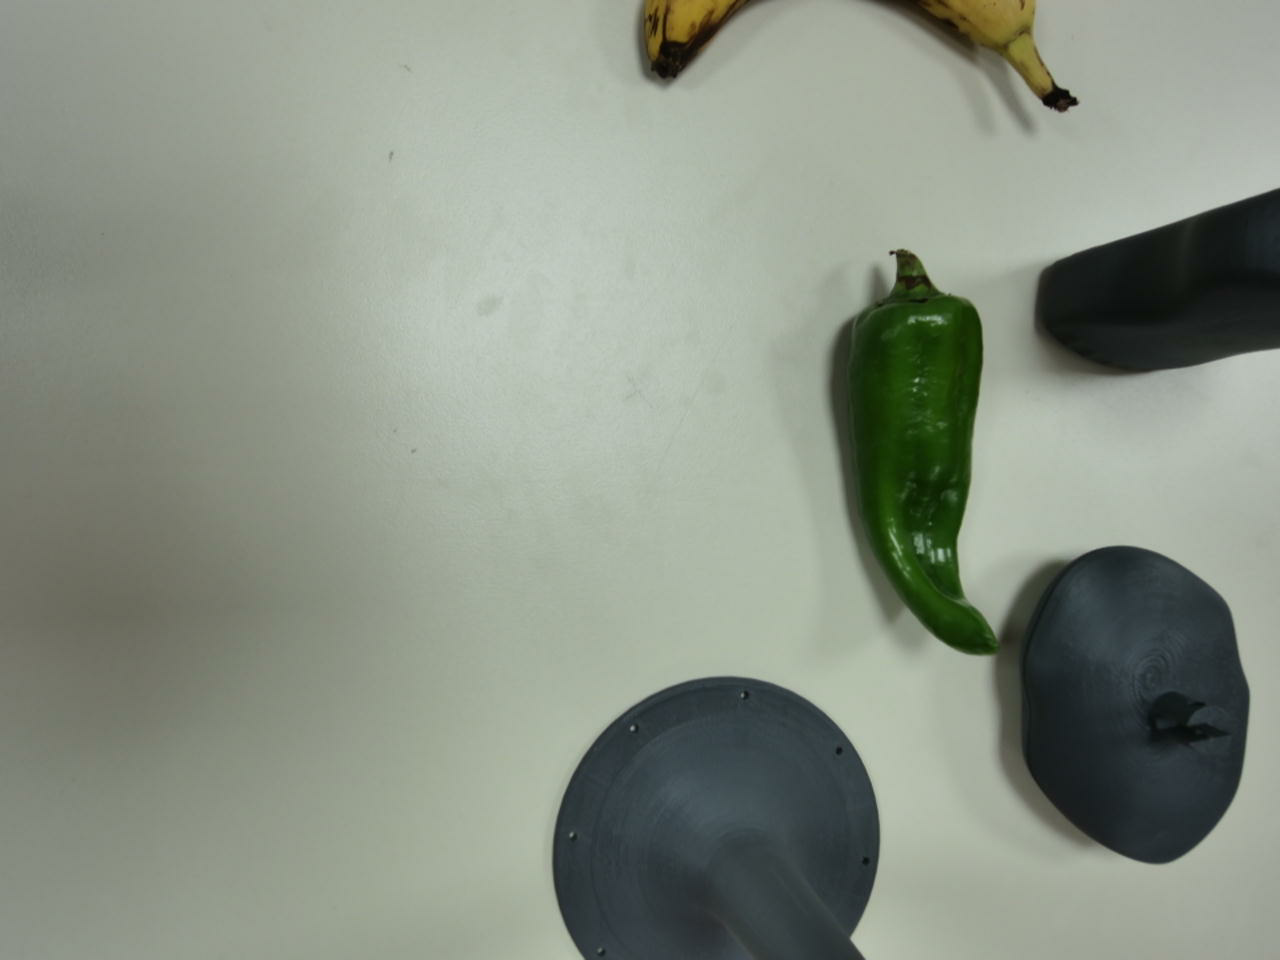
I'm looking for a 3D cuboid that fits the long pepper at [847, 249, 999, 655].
[{"bbox_3d":[0.121,-0.014,0.428,0.058,0.065,0.175,-2,91,-11],"label":"long pepper"}]
